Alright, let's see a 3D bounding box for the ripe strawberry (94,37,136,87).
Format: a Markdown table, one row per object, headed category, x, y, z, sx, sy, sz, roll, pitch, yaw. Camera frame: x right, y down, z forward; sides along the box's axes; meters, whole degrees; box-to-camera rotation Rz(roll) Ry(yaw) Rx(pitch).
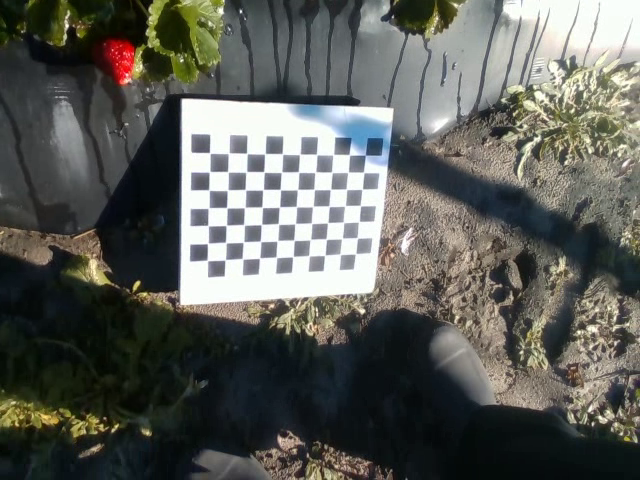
| category | x | y | z | sx | sy | sz | roll | pitch | yaw |
| --- | --- | --- | --- | --- | --- | --- | --- | --- | --- |
| ripe strawberry | -0.184 | -0.162 | 0.567 | 0.041 | 0.053 | 0.047 | -9 | -18 | -19 |
